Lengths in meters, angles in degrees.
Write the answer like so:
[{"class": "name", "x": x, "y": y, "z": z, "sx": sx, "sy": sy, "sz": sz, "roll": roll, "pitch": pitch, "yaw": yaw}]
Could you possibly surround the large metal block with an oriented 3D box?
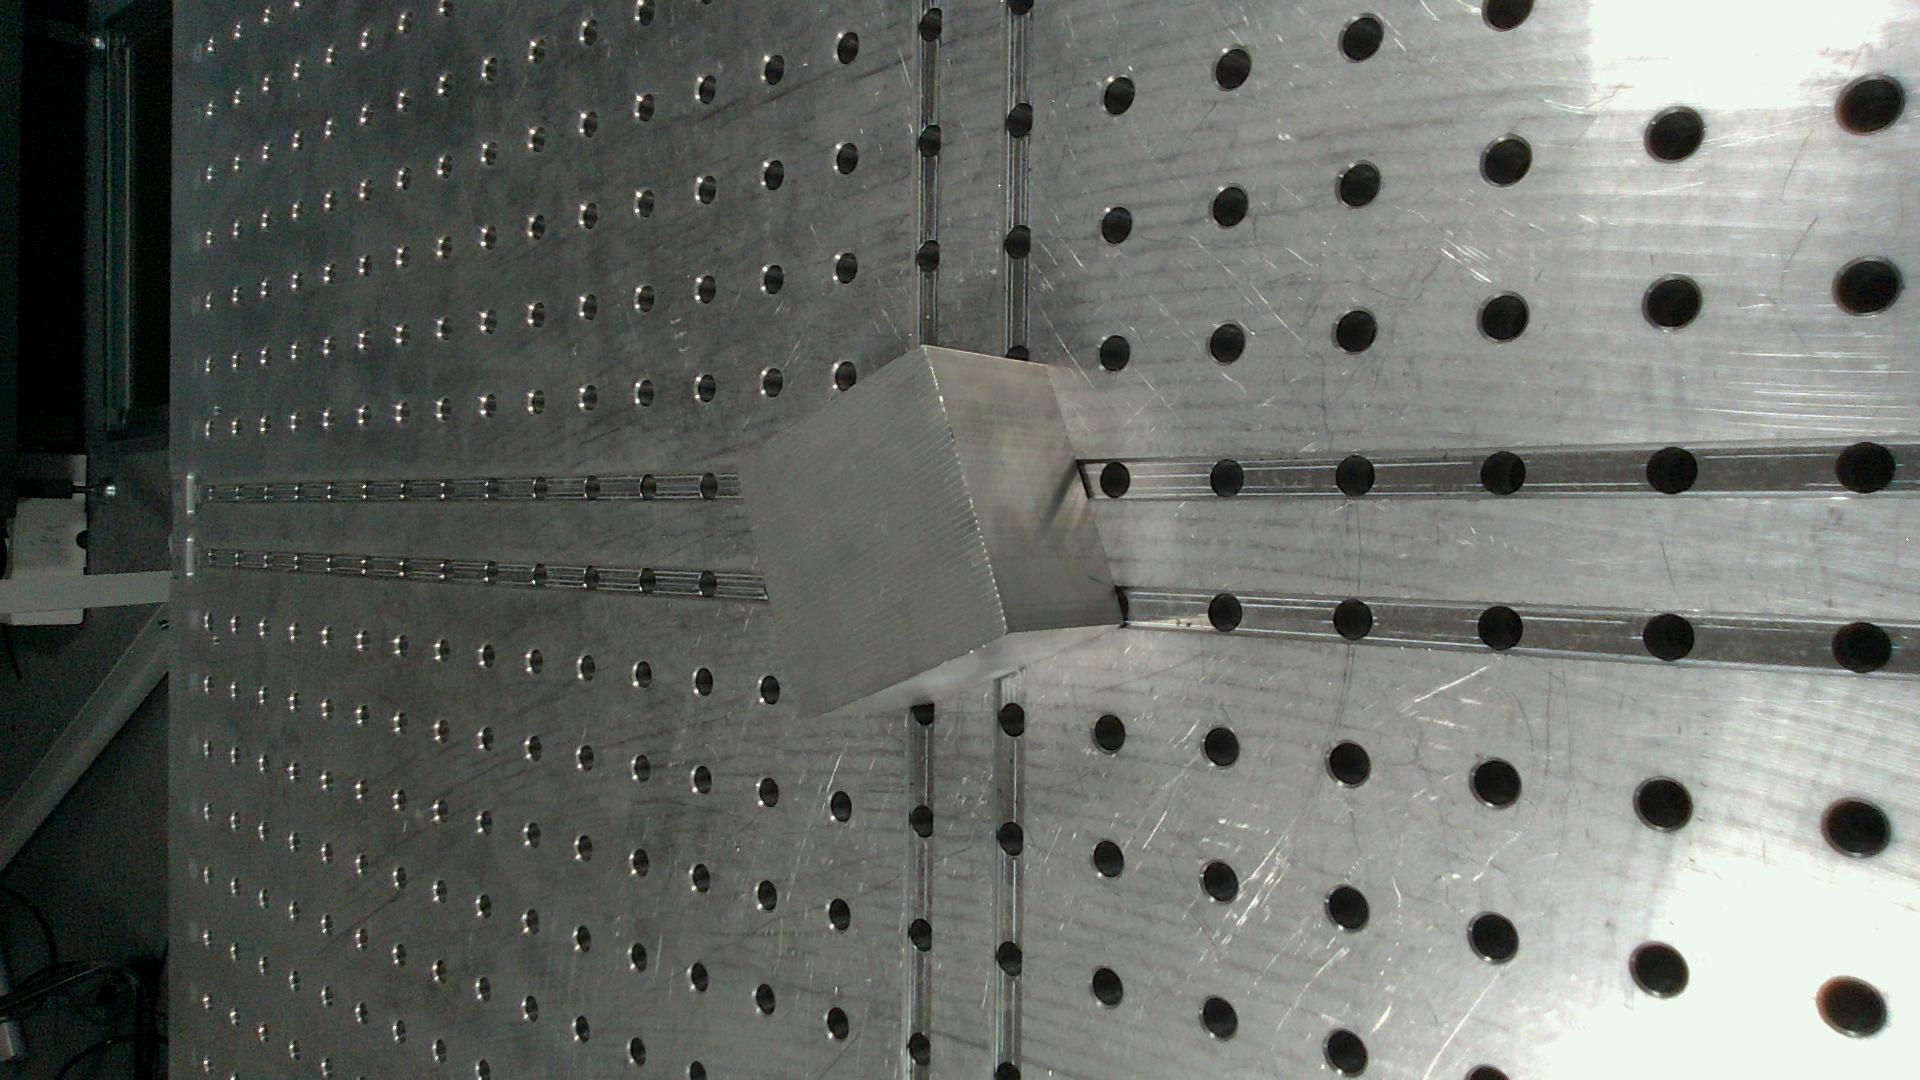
[{"class": "large metal block", "x": -0.011, "y": 0.001, "z": 0.387, "sx": 0.080, "sy": 0.050, "sz": 0.080, "roll": -27, "pitch": 73, "yaw": 37}]
